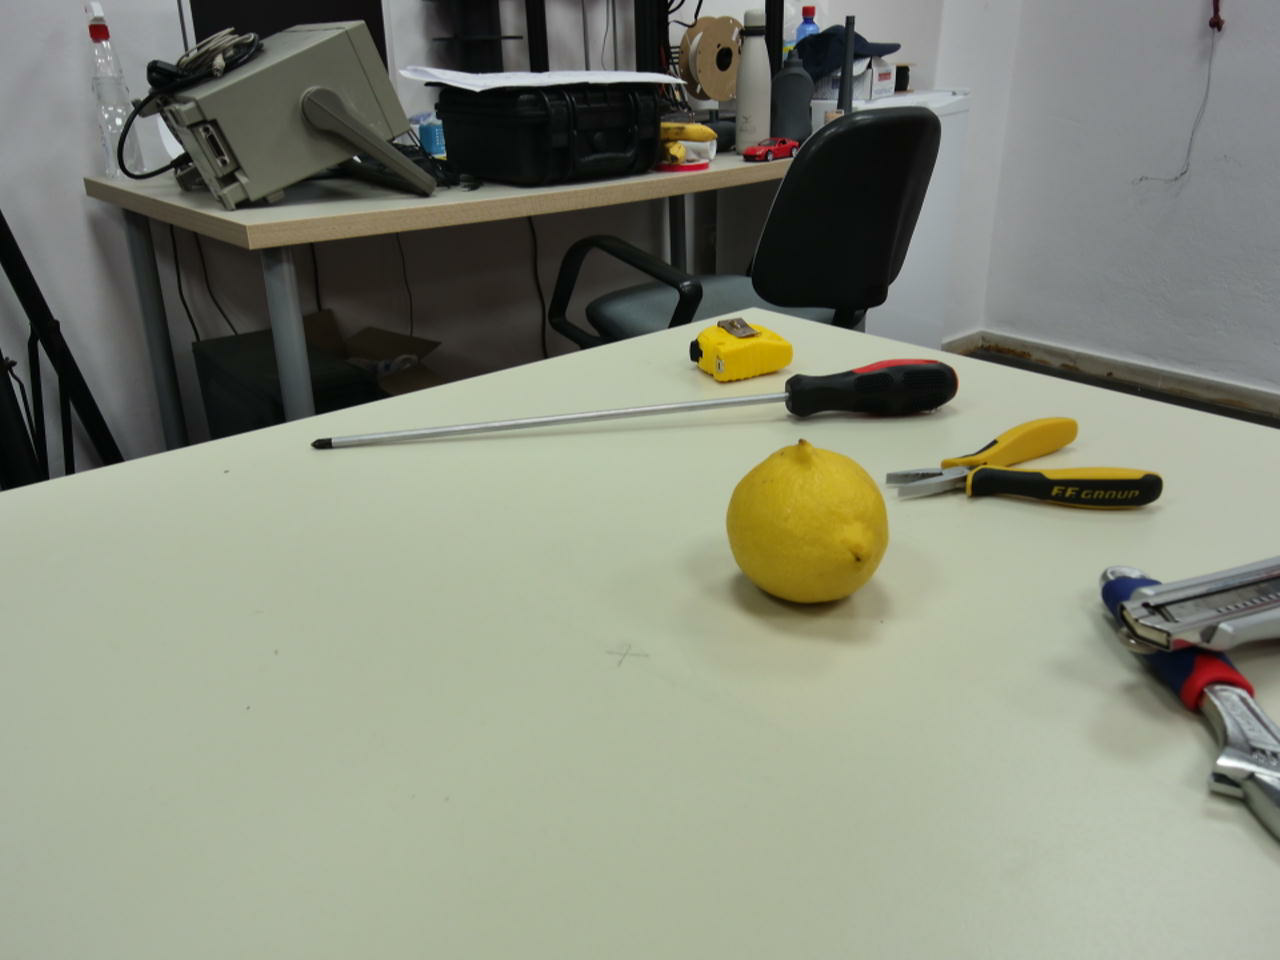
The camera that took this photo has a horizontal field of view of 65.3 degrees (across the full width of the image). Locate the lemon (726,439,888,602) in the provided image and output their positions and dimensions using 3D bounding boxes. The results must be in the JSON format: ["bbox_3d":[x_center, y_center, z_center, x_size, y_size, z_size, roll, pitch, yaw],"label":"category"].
[{"bbox_3d":[0.073,0.016,0.436,0.070,0.071,0.071,6,23,16],"label":"lemon"}]
